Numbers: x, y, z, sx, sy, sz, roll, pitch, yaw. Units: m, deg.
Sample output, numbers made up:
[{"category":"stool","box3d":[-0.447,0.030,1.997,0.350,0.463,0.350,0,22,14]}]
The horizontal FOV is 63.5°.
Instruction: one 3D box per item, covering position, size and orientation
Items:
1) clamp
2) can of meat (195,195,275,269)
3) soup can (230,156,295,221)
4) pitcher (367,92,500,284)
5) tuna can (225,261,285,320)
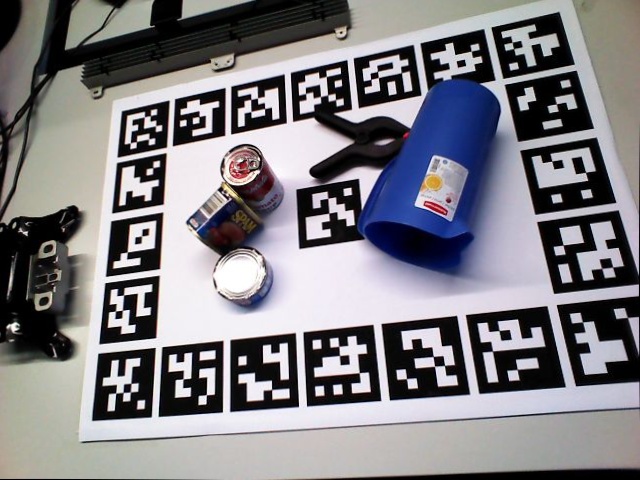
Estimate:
[{"category":"clamp","box3d":[0.073,-0.140,0.821,0.166,0.036,0.121,-5,65,11]},{"category":"can of meat","box3d":[-0.129,-0.008,0.782,0.084,0.102,0.058,-43,66,2]},{"category":"soup can","box3d":[-0.086,-0.077,0.799,0.068,0.102,0.067,-6,71,16]},{"category":"pitcher","box3d":[0.172,-0.073,0.701,0.190,0.133,0.241,5,63,41]},{"category":"tuna can","box3d":[-0.097,0.077,0.782,0.086,0.034,0.085,-5,71,14]}]
